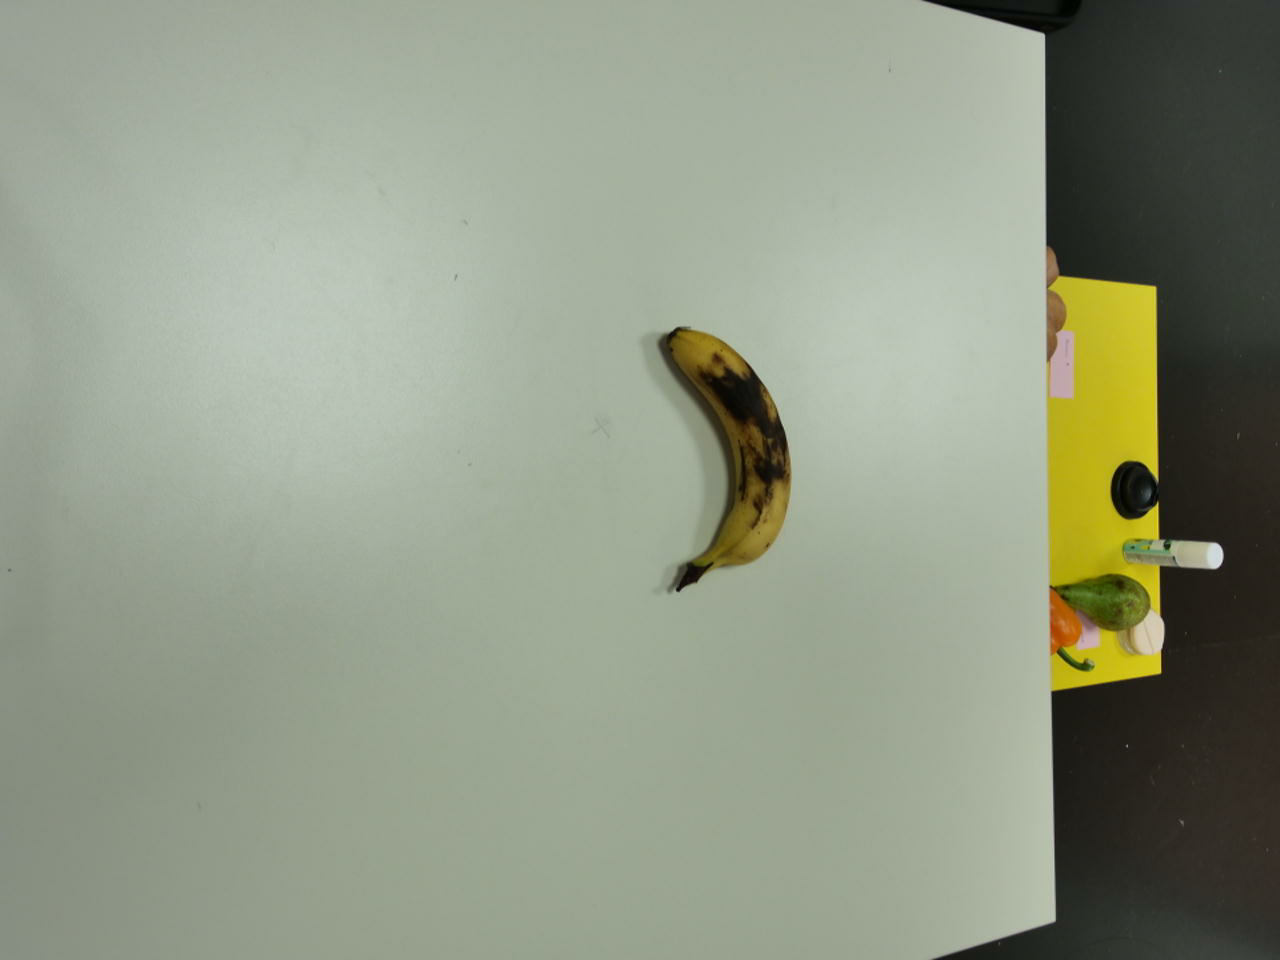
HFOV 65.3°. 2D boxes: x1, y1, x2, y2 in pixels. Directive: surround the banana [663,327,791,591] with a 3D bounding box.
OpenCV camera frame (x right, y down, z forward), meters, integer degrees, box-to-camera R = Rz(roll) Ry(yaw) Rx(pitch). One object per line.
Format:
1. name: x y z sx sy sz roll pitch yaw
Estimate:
1. banana: 0.065 -0.017 0.720 0.094 0.039 0.187 -2 91 -28
